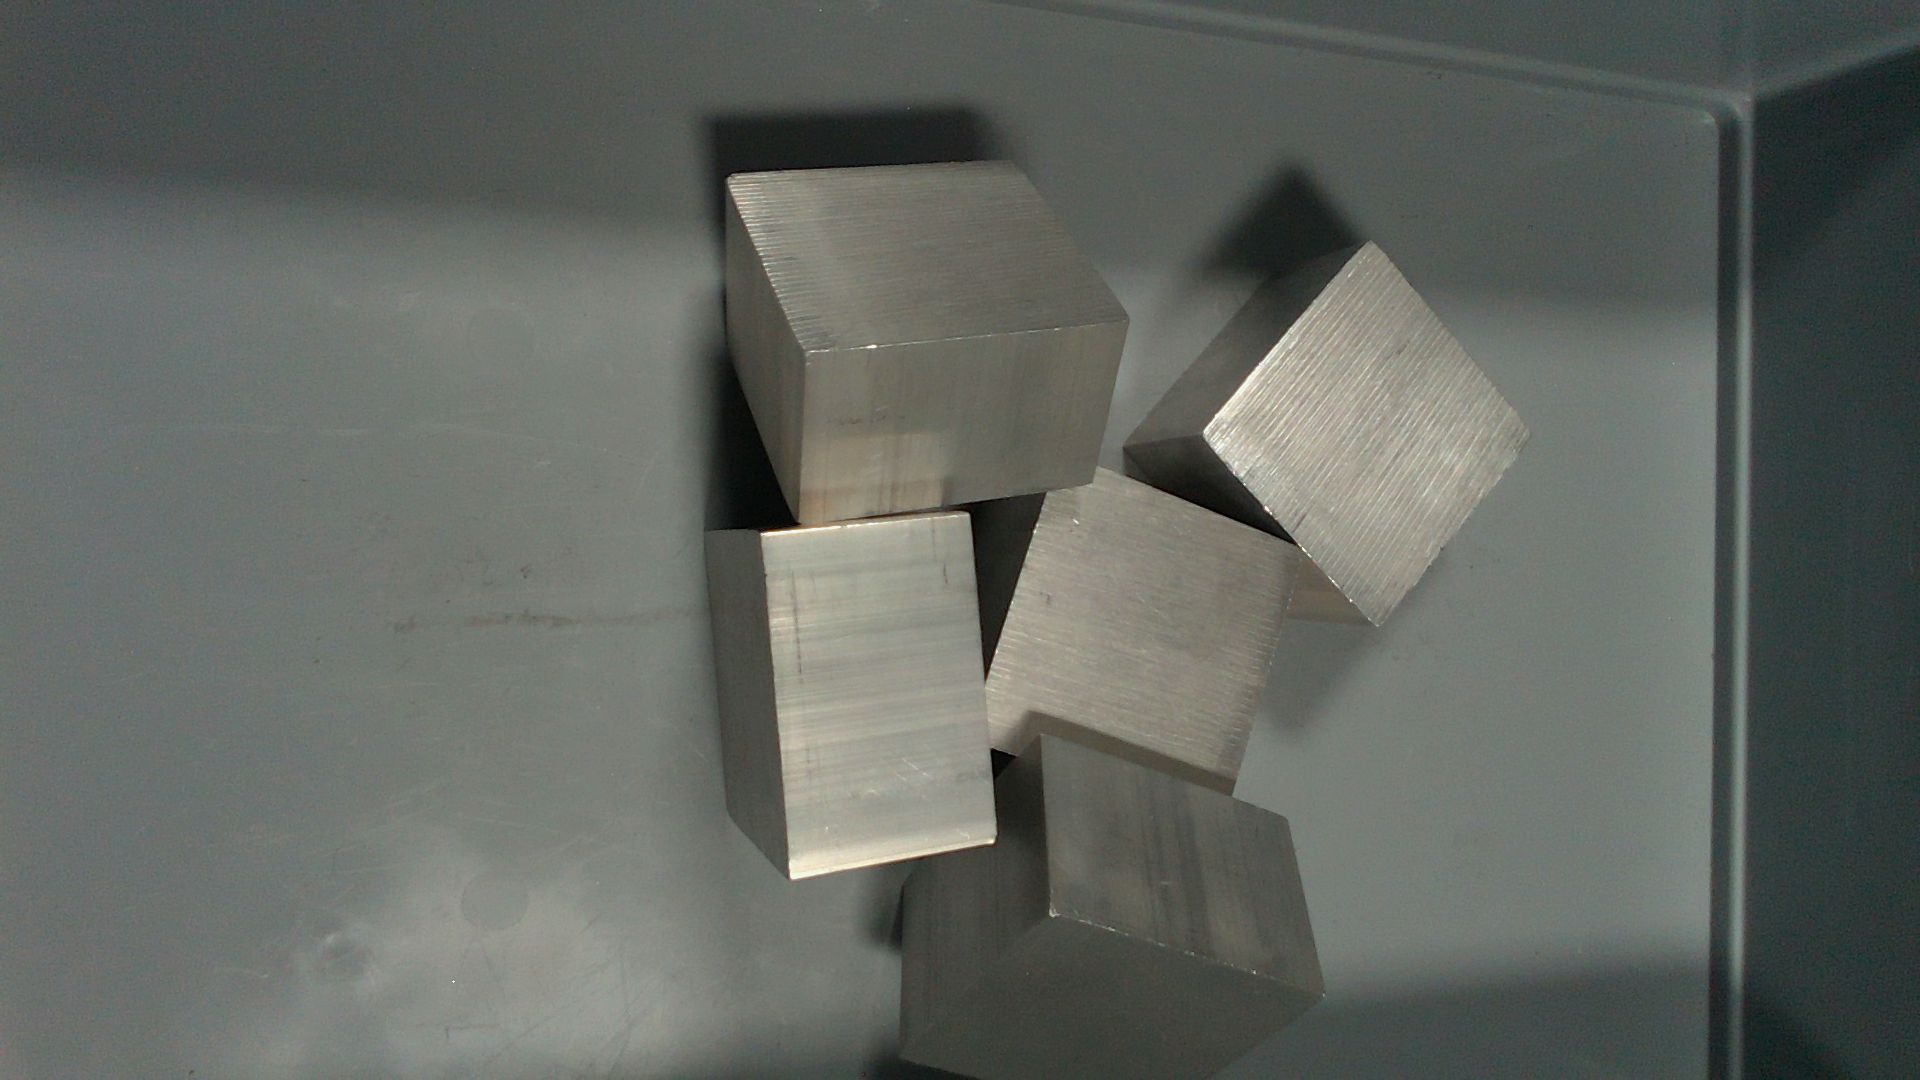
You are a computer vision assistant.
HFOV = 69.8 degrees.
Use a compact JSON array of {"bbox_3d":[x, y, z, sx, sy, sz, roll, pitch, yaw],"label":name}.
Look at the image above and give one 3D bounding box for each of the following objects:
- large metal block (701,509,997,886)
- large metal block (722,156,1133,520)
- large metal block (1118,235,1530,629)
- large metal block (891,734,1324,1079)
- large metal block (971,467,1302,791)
[{"bbox_3d":[-0.032,0.035,0.352,0.050,0.080,0.080,-6,92,-20],"label":"large metal block"},{"bbox_3d":[-0.013,-0.055,0.352,0.080,0.080,0.050,-8,135,-19],"label":"large metal block"},{"bbox_3d":[0.110,-0.031,0.419,0.080,0.050,0.080,45,76,-14],"label":"large metal block"},{"bbox_3d":[0.036,0.105,0.370,0.080,0.080,0.050,21,41,-20],"label":"large metal block"},{"bbox_3d":[0.041,0.027,0.395,0.080,0.050,0.080,20,83,-19],"label":"large metal block"}]
